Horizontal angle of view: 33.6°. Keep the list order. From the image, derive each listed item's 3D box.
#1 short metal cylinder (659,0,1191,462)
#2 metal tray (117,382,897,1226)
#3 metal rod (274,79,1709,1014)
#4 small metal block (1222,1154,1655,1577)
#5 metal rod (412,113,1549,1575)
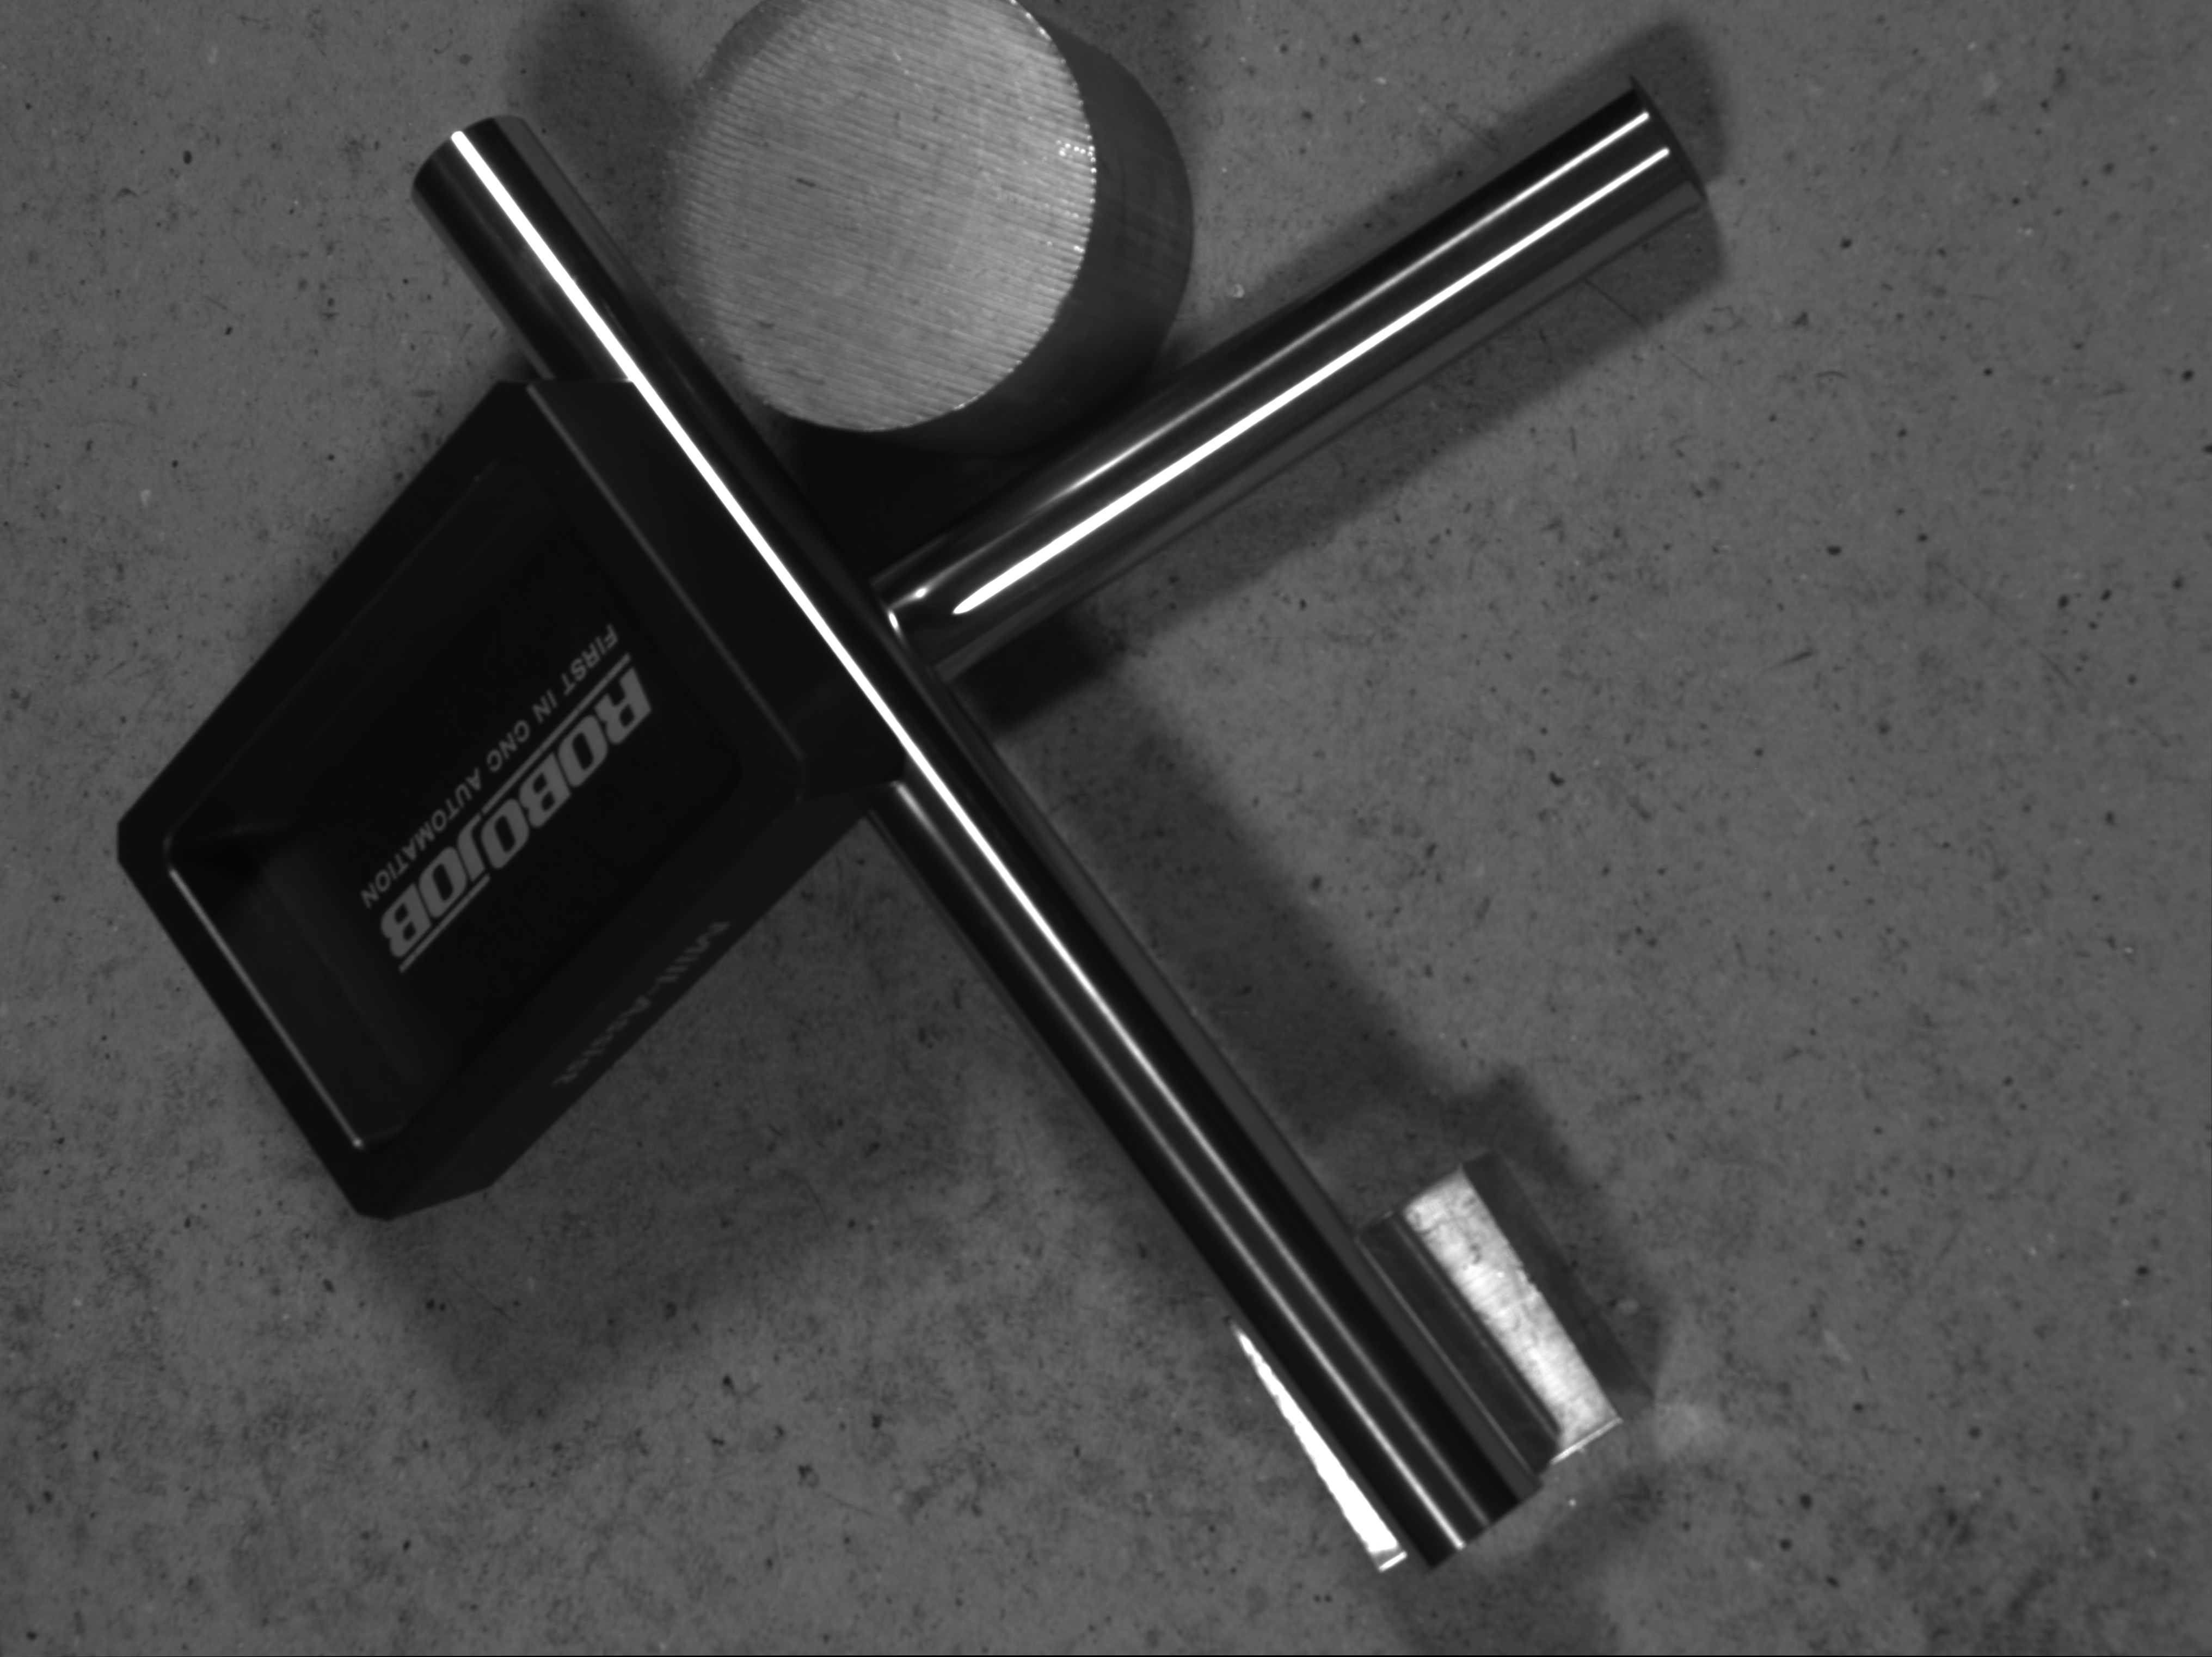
[{"bbox_3d":[-0.031,-0.107,0.642,0.080,0.050,0.080,0,90,20],"label":"short metal cylinder"},{"bbox_3d":[-0.107,-0.004,0.639,0.130,0.030,0.090,-44,76,27],"label":"metal tray"},{"bbox_3d":[-0.028,-0.040,0.655,0.300,0.025,0.025,-31,80,17],"label":"metal rod"},{"bbox_3d":[0.057,0.091,0.624,0.050,0.025,0.050,-35,79,16],"label":"small metal block"},{"bbox_3d":[-0.026,-0.003,0.628,0.025,0.025,0.300,-40,77,15],"label":"metal rod"}]
